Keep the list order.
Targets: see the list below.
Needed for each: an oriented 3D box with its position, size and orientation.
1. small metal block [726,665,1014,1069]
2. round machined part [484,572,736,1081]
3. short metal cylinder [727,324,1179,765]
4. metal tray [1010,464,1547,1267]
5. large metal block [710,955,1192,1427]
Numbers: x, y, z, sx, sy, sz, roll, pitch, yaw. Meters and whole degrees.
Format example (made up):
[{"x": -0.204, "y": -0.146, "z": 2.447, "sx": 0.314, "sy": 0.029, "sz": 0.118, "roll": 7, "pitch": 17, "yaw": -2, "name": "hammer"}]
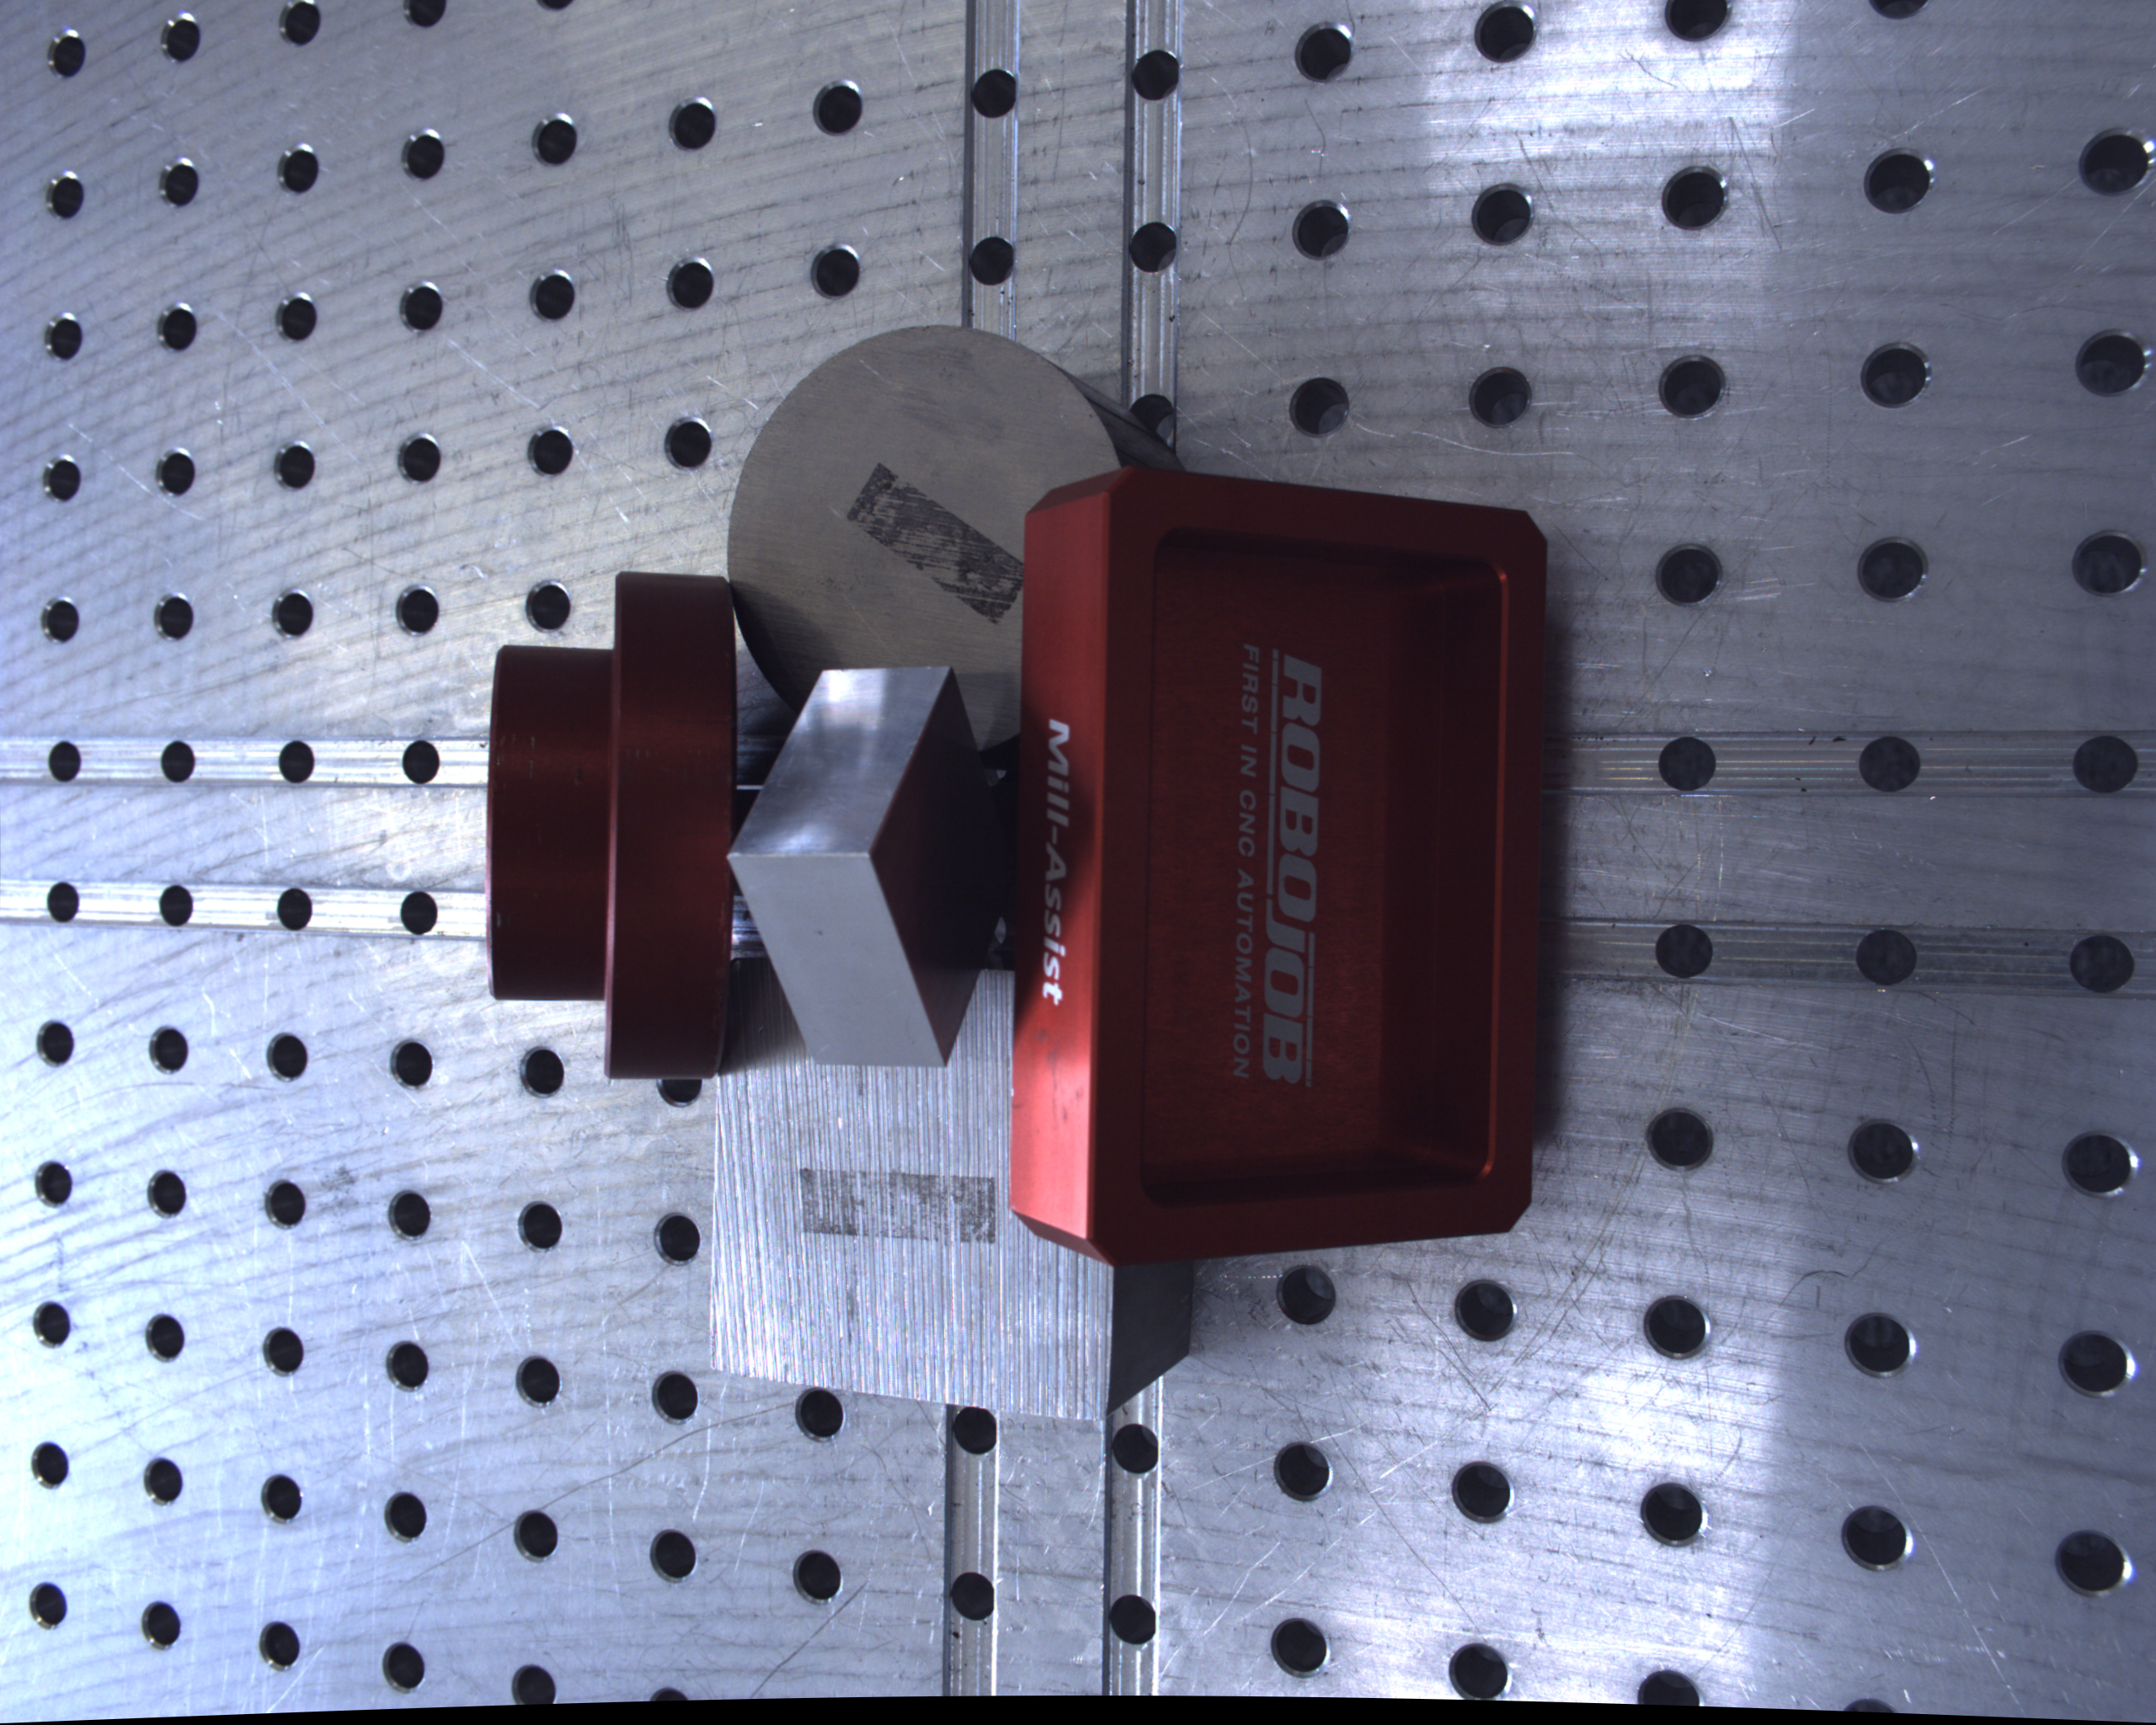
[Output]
[{"x": -0.034, "y": 0.001, "z": 0.366, "sx": 0.025, "sy": 0.050, "sz": 0.050, "roll": 0, "pitch": 132, "yaw": 17, "name": "small metal block"}, {"x": -0.091, "y": -0.007, "z": 0.402, "sx": 0.042, "sy": 0.098, "sz": 0.097, "roll": 1, "pitch": 91, "yaw": -13, "name": "round machined part"}, {"x": -0.020, "y": -0.059, "z": 0.405, "sx": 0.080, "sy": 0.050, "sz": 0.080, "roll": 0, "pitch": 90, "yaw": 20, "name": "short metal cylinder"}, {"x": 0.036, "y": 0.001, "z": 0.367, "sx": 0.030, "sy": 0.091, "sz": 0.129, "roll": 2, "pitch": 91, "yaw": 63, "name": "metal tray"}, {"x": -0.022, "y": 0.059, "z": 0.407, "sx": 0.080, "sy": 0.050, "sz": 0.080, "roll": 2, "pitch": 91, "yaw": 20, "name": "large metal block"}]
